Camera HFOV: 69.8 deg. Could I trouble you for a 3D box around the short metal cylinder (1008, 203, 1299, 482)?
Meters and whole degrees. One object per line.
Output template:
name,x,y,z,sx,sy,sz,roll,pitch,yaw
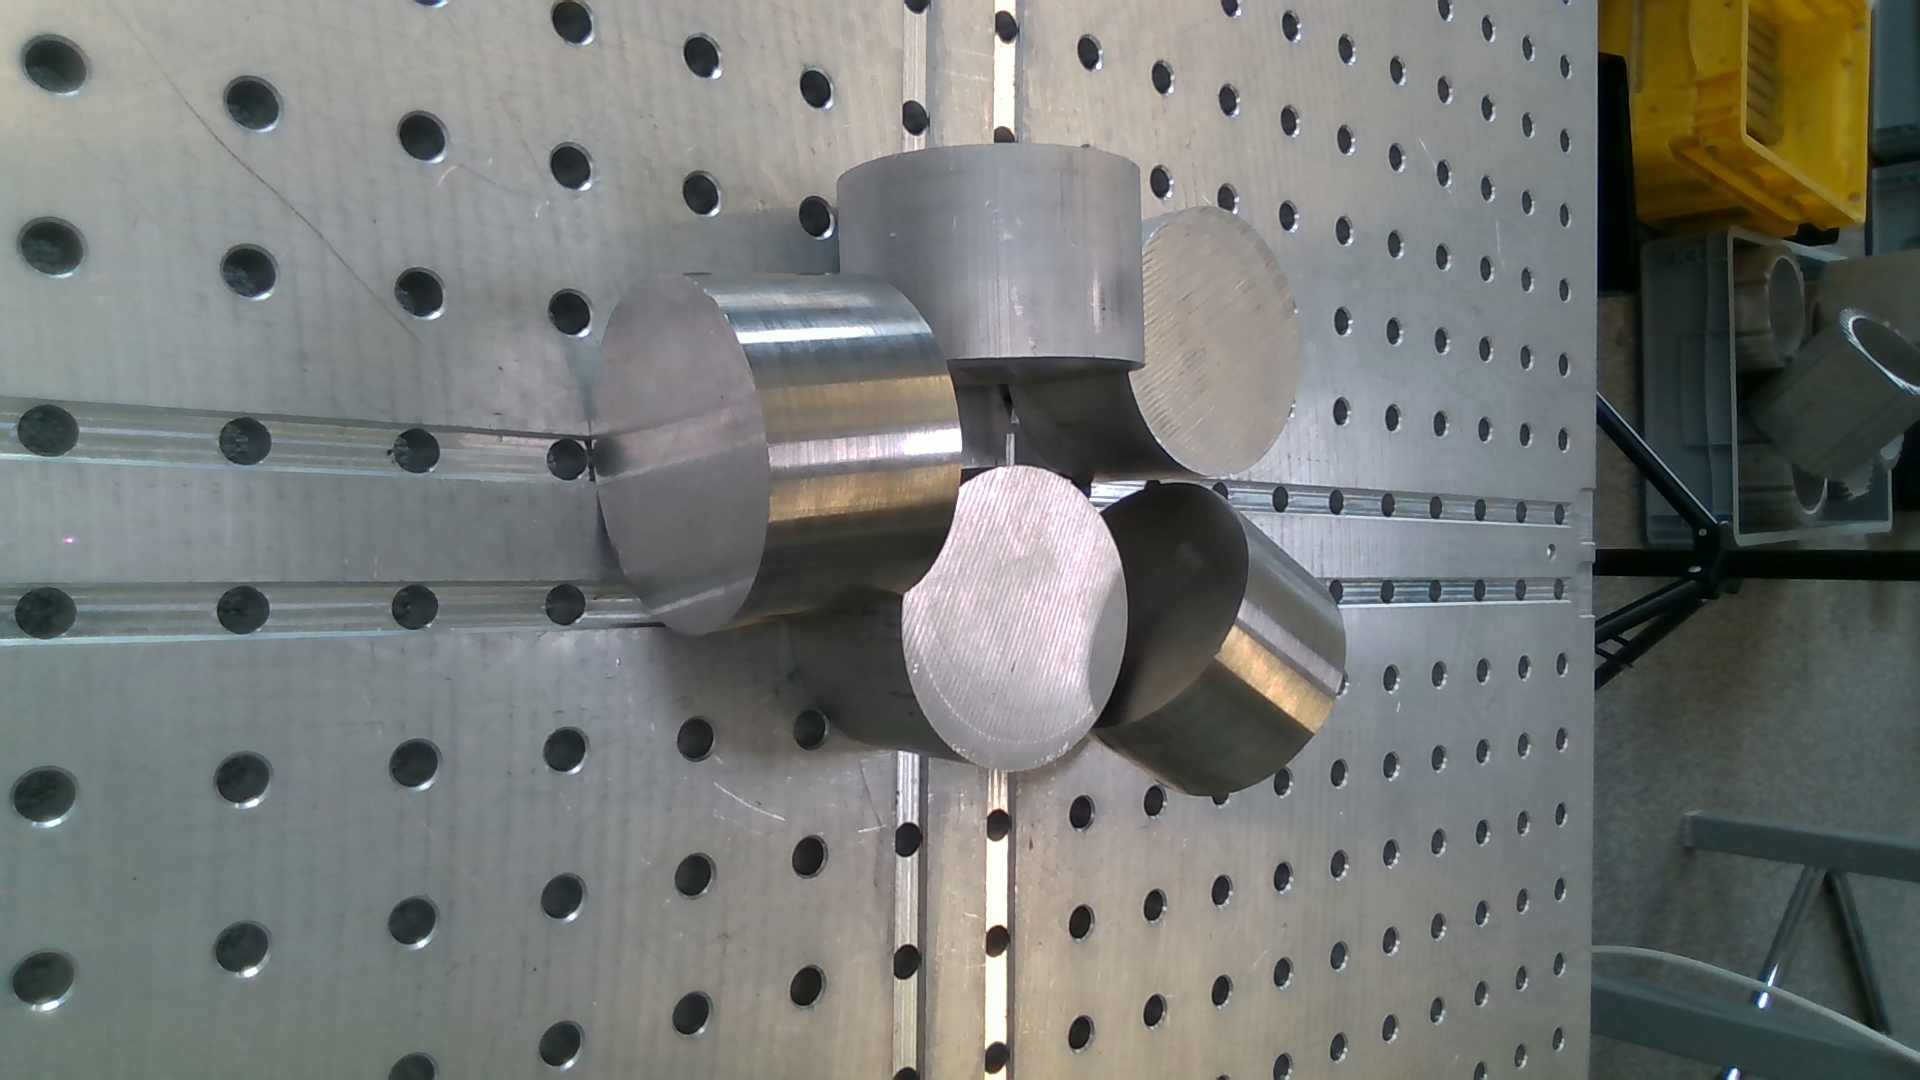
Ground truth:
short metal cylinder,0.060,-0.059,0.428,0.080,0.050,0.080,1,88,-40

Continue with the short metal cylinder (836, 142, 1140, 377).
short metal cylinder,0.008,-0.070,0.365,0.080,0.080,0.050,-3,92,-40

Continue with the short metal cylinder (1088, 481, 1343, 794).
short metal cylinder,0.066,0.029,0.414,0.050,0.080,0.080,35,68,-35

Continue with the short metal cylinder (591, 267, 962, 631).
short metal cylinder,-0.044,-0.022,0.320,0.050,0.080,0.080,-8,95,-40

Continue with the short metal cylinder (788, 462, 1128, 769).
short metal cylinder,0.000,0.020,0.378,0.080,0.050,0.080,0,91,-40
